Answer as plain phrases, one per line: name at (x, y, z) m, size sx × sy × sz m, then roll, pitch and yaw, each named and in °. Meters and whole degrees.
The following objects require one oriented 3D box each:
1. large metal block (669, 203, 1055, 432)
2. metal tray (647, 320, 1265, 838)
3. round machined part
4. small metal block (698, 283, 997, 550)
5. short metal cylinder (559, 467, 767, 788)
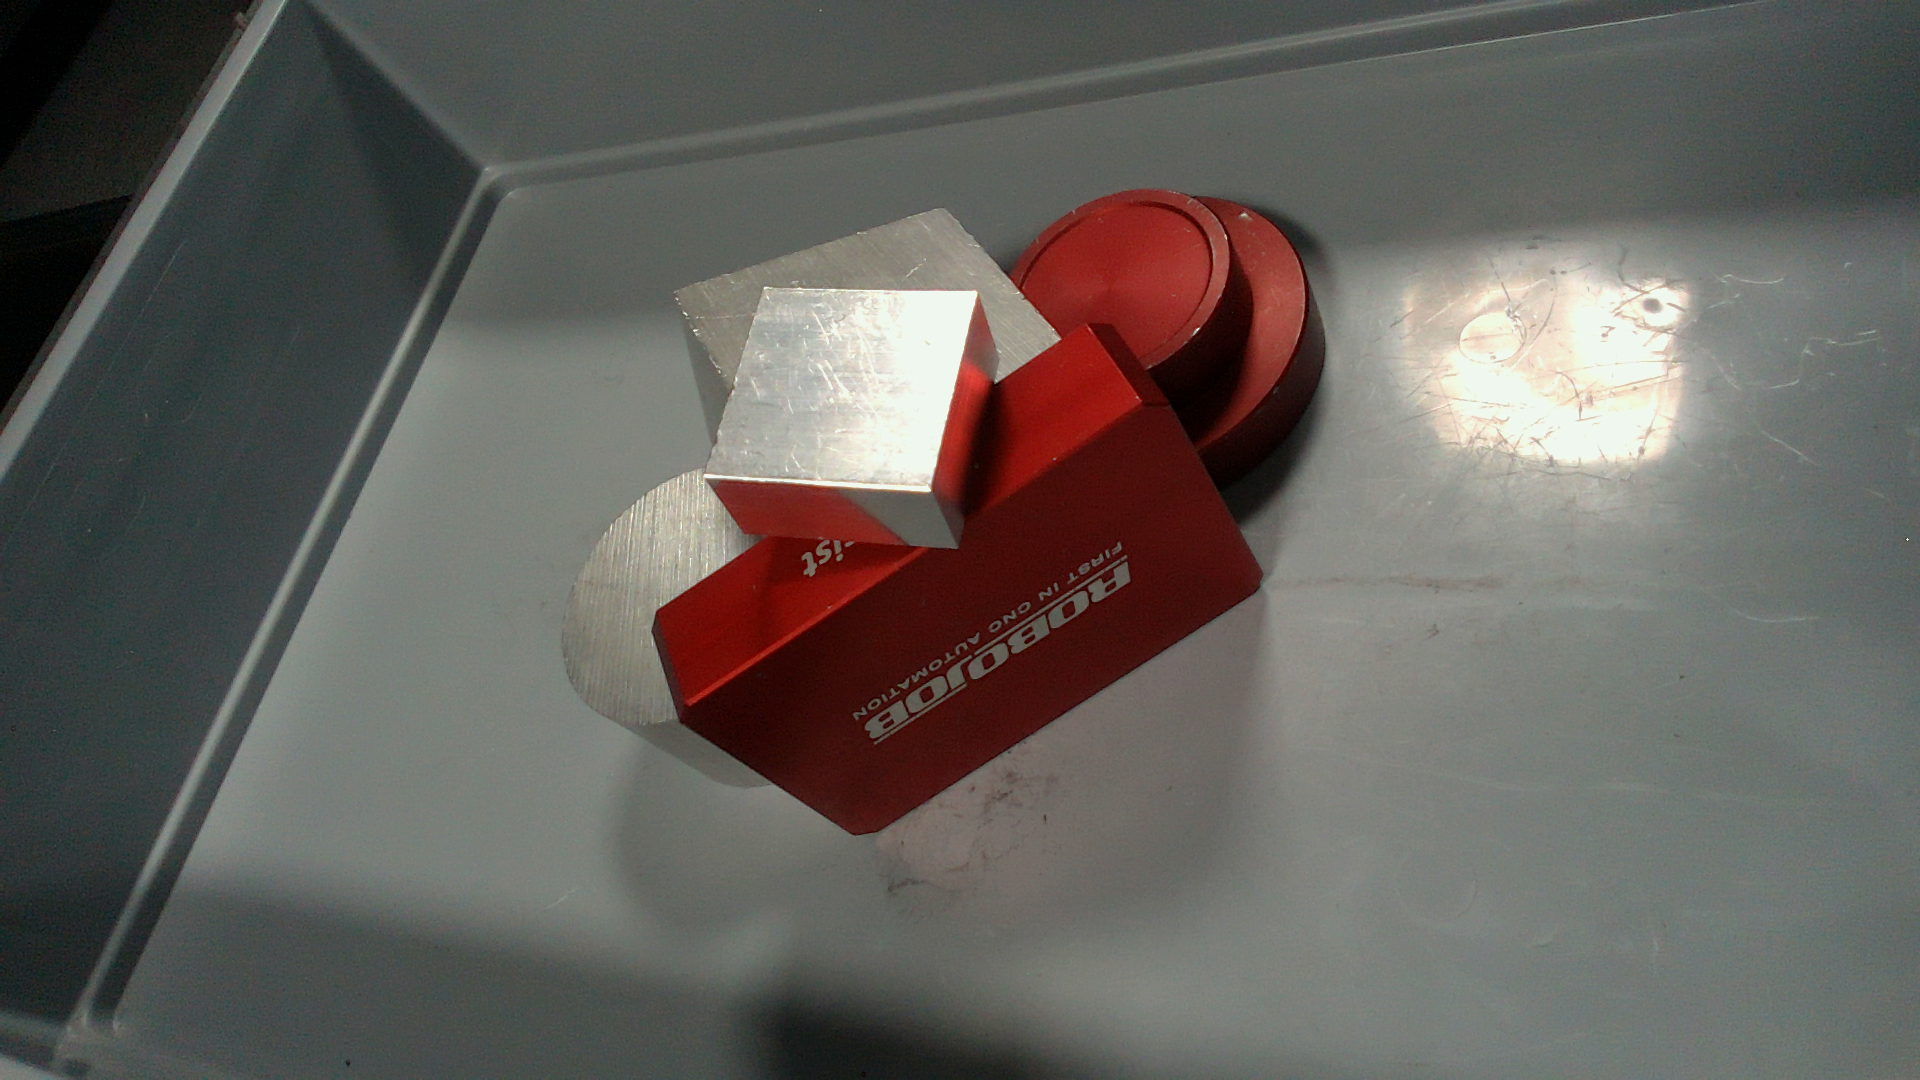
large metal block at (-0.021, -0.037, 0.364) m, size 0.080 × 0.050 × 0.080 m, roll -22°, pitch 49°, yaw -16°
metal tray at (0.002, 0.015, 0.339) m, size 0.130 × 0.090 × 0.030 m, roll -33°, pitch 50°, yaw 6°
round machined part at (0.049, -0.060, 0.391) m, size 0.098 × 0.042 × 0.098 m, roll -13°, pitch 56°, yaw 21°
small metal block at (-0.022, -0.028, 0.298) m, size 0.050 × 0.025 × 0.050 m, roll 4°, pitch 62°, yaw 16°
short metal cylinder at (-0.067, 0.025, 0.397) m, size 0.080 × 0.050 × 0.080 m, roll -14°, pitch 56°, yaw 21°
